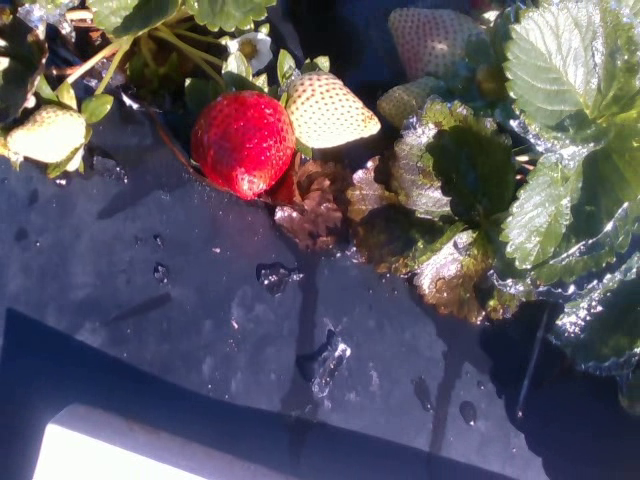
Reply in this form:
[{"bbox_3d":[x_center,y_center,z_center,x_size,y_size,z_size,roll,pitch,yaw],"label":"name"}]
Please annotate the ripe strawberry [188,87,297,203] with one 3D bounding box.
[{"bbox_3d":[-0.025,-0.029,0.205,0.040,0.042,0.053,-17,34,4],"label":"ripe strawberry"}]
